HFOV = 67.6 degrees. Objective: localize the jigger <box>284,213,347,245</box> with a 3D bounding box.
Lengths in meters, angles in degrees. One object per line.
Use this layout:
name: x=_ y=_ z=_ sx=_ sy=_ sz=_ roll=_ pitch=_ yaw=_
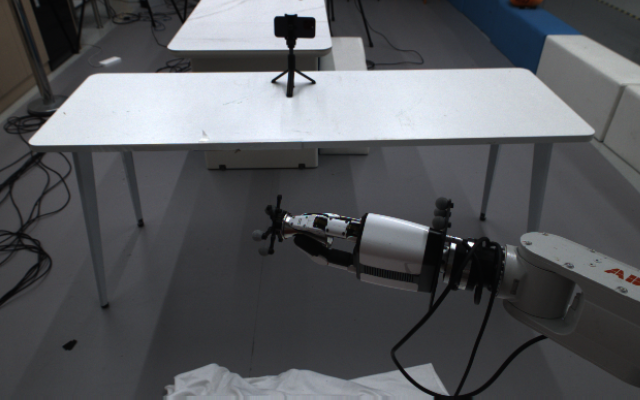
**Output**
jigger: x=-0.010 y=0.038 z=0.690 sx=0.071 sy=0.043 sz=0.043 roll=8 pitch=35 yaw=15
